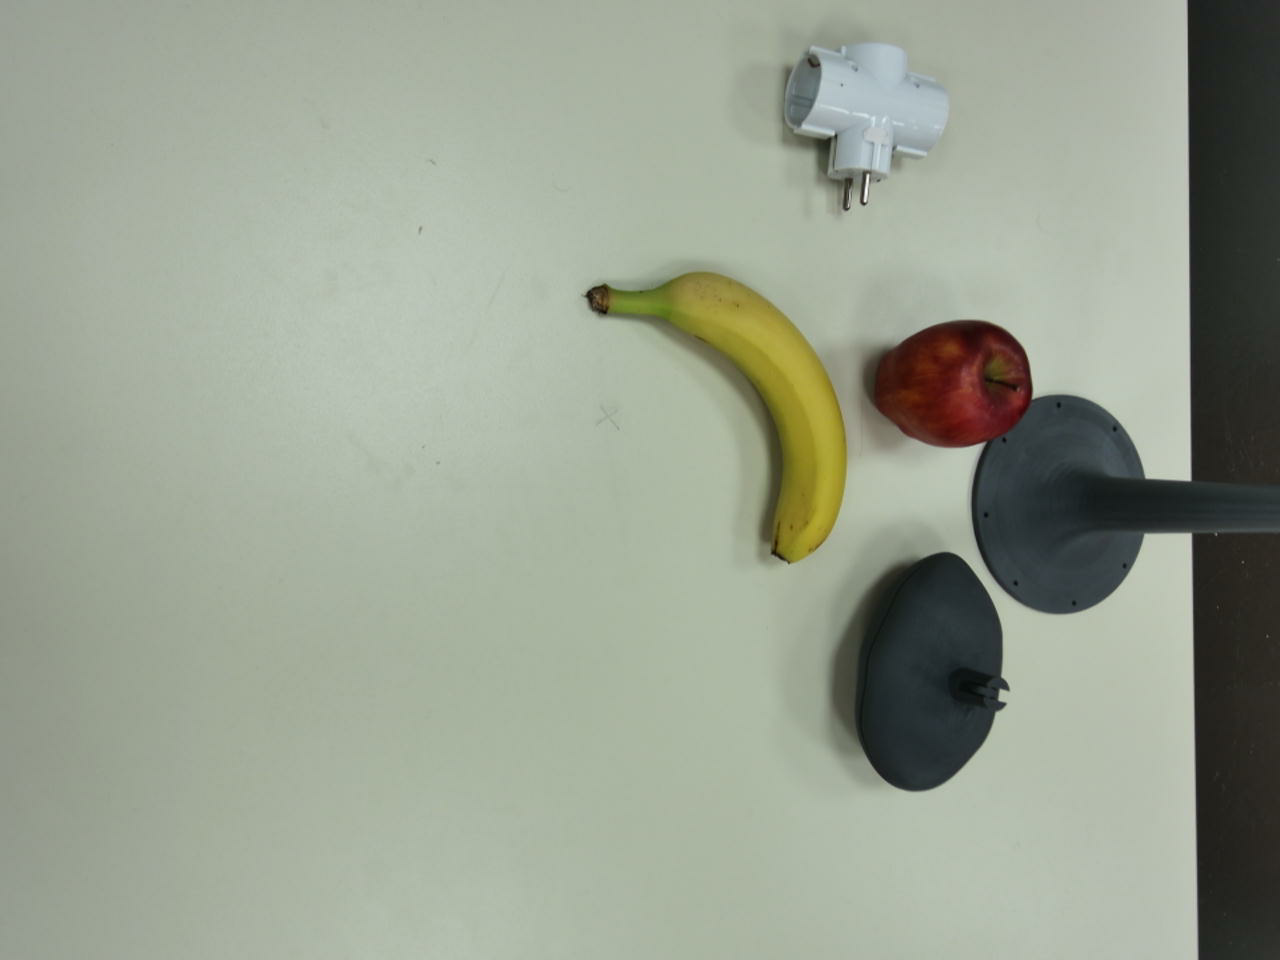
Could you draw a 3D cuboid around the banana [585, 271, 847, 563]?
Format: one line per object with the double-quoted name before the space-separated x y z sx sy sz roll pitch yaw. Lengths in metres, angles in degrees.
"banana" 0.064 -0.052 0.580 0.094 0.041 0.196 -39 103 -17
